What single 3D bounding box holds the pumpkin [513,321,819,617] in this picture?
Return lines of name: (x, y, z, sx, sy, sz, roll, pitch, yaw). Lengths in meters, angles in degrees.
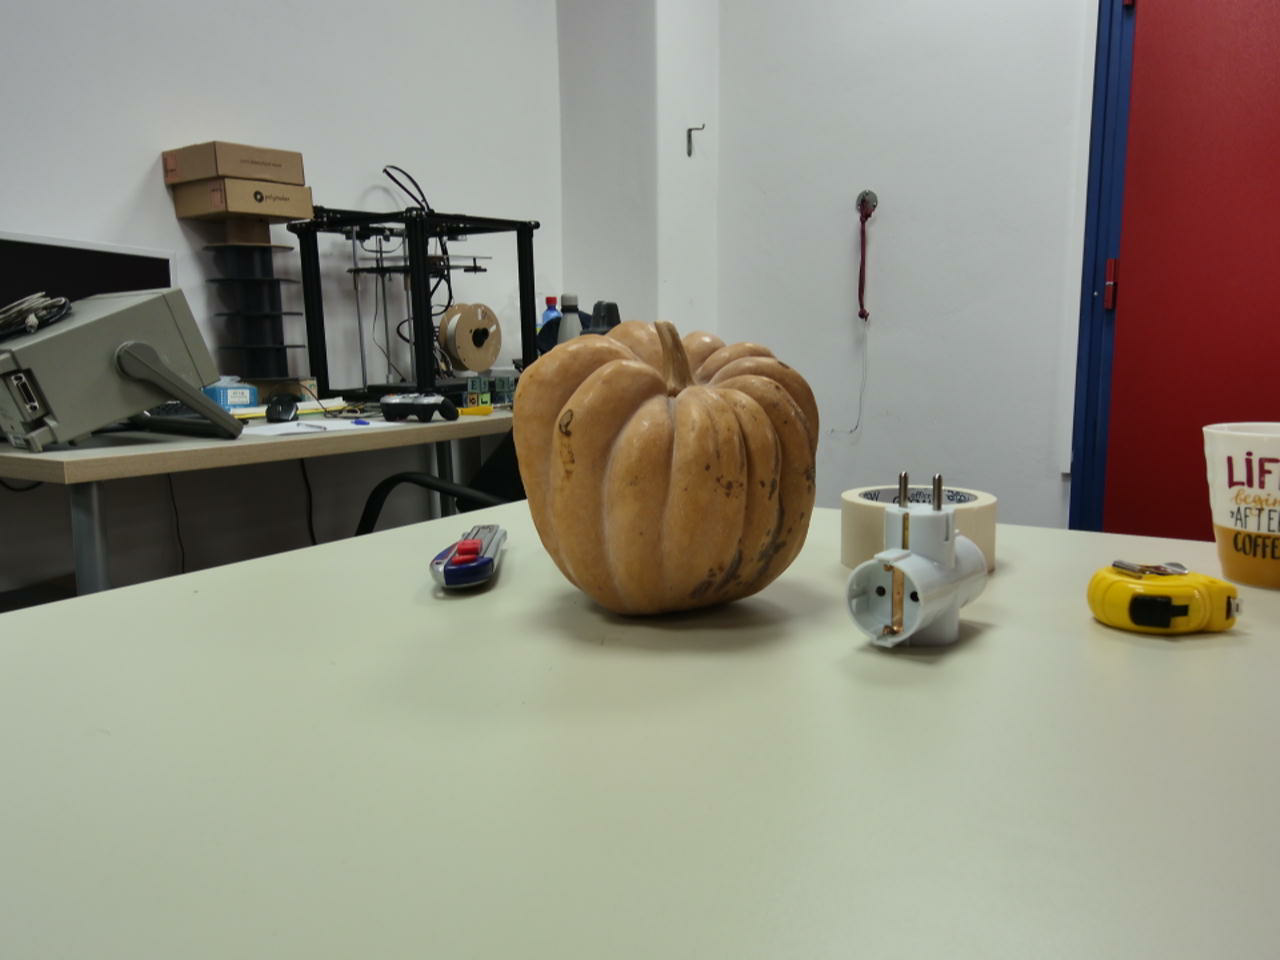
pumpkin: (0.015, -0.009, 0.619, 0.199, 0.177, 0.198, -1, 7, 0)
